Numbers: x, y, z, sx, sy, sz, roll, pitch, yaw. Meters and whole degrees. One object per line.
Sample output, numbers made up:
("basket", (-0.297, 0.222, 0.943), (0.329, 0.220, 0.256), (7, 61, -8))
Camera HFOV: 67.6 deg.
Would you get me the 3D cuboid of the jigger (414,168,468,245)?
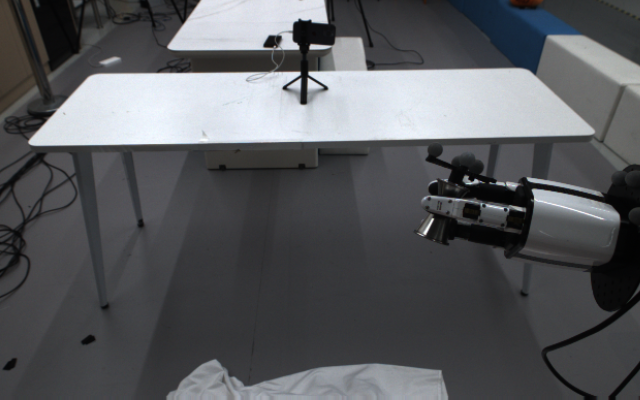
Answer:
("jigger", (0.139, 0.012, 0.557), (0.043, 0.071, 0.043), (22, 5, -2))
